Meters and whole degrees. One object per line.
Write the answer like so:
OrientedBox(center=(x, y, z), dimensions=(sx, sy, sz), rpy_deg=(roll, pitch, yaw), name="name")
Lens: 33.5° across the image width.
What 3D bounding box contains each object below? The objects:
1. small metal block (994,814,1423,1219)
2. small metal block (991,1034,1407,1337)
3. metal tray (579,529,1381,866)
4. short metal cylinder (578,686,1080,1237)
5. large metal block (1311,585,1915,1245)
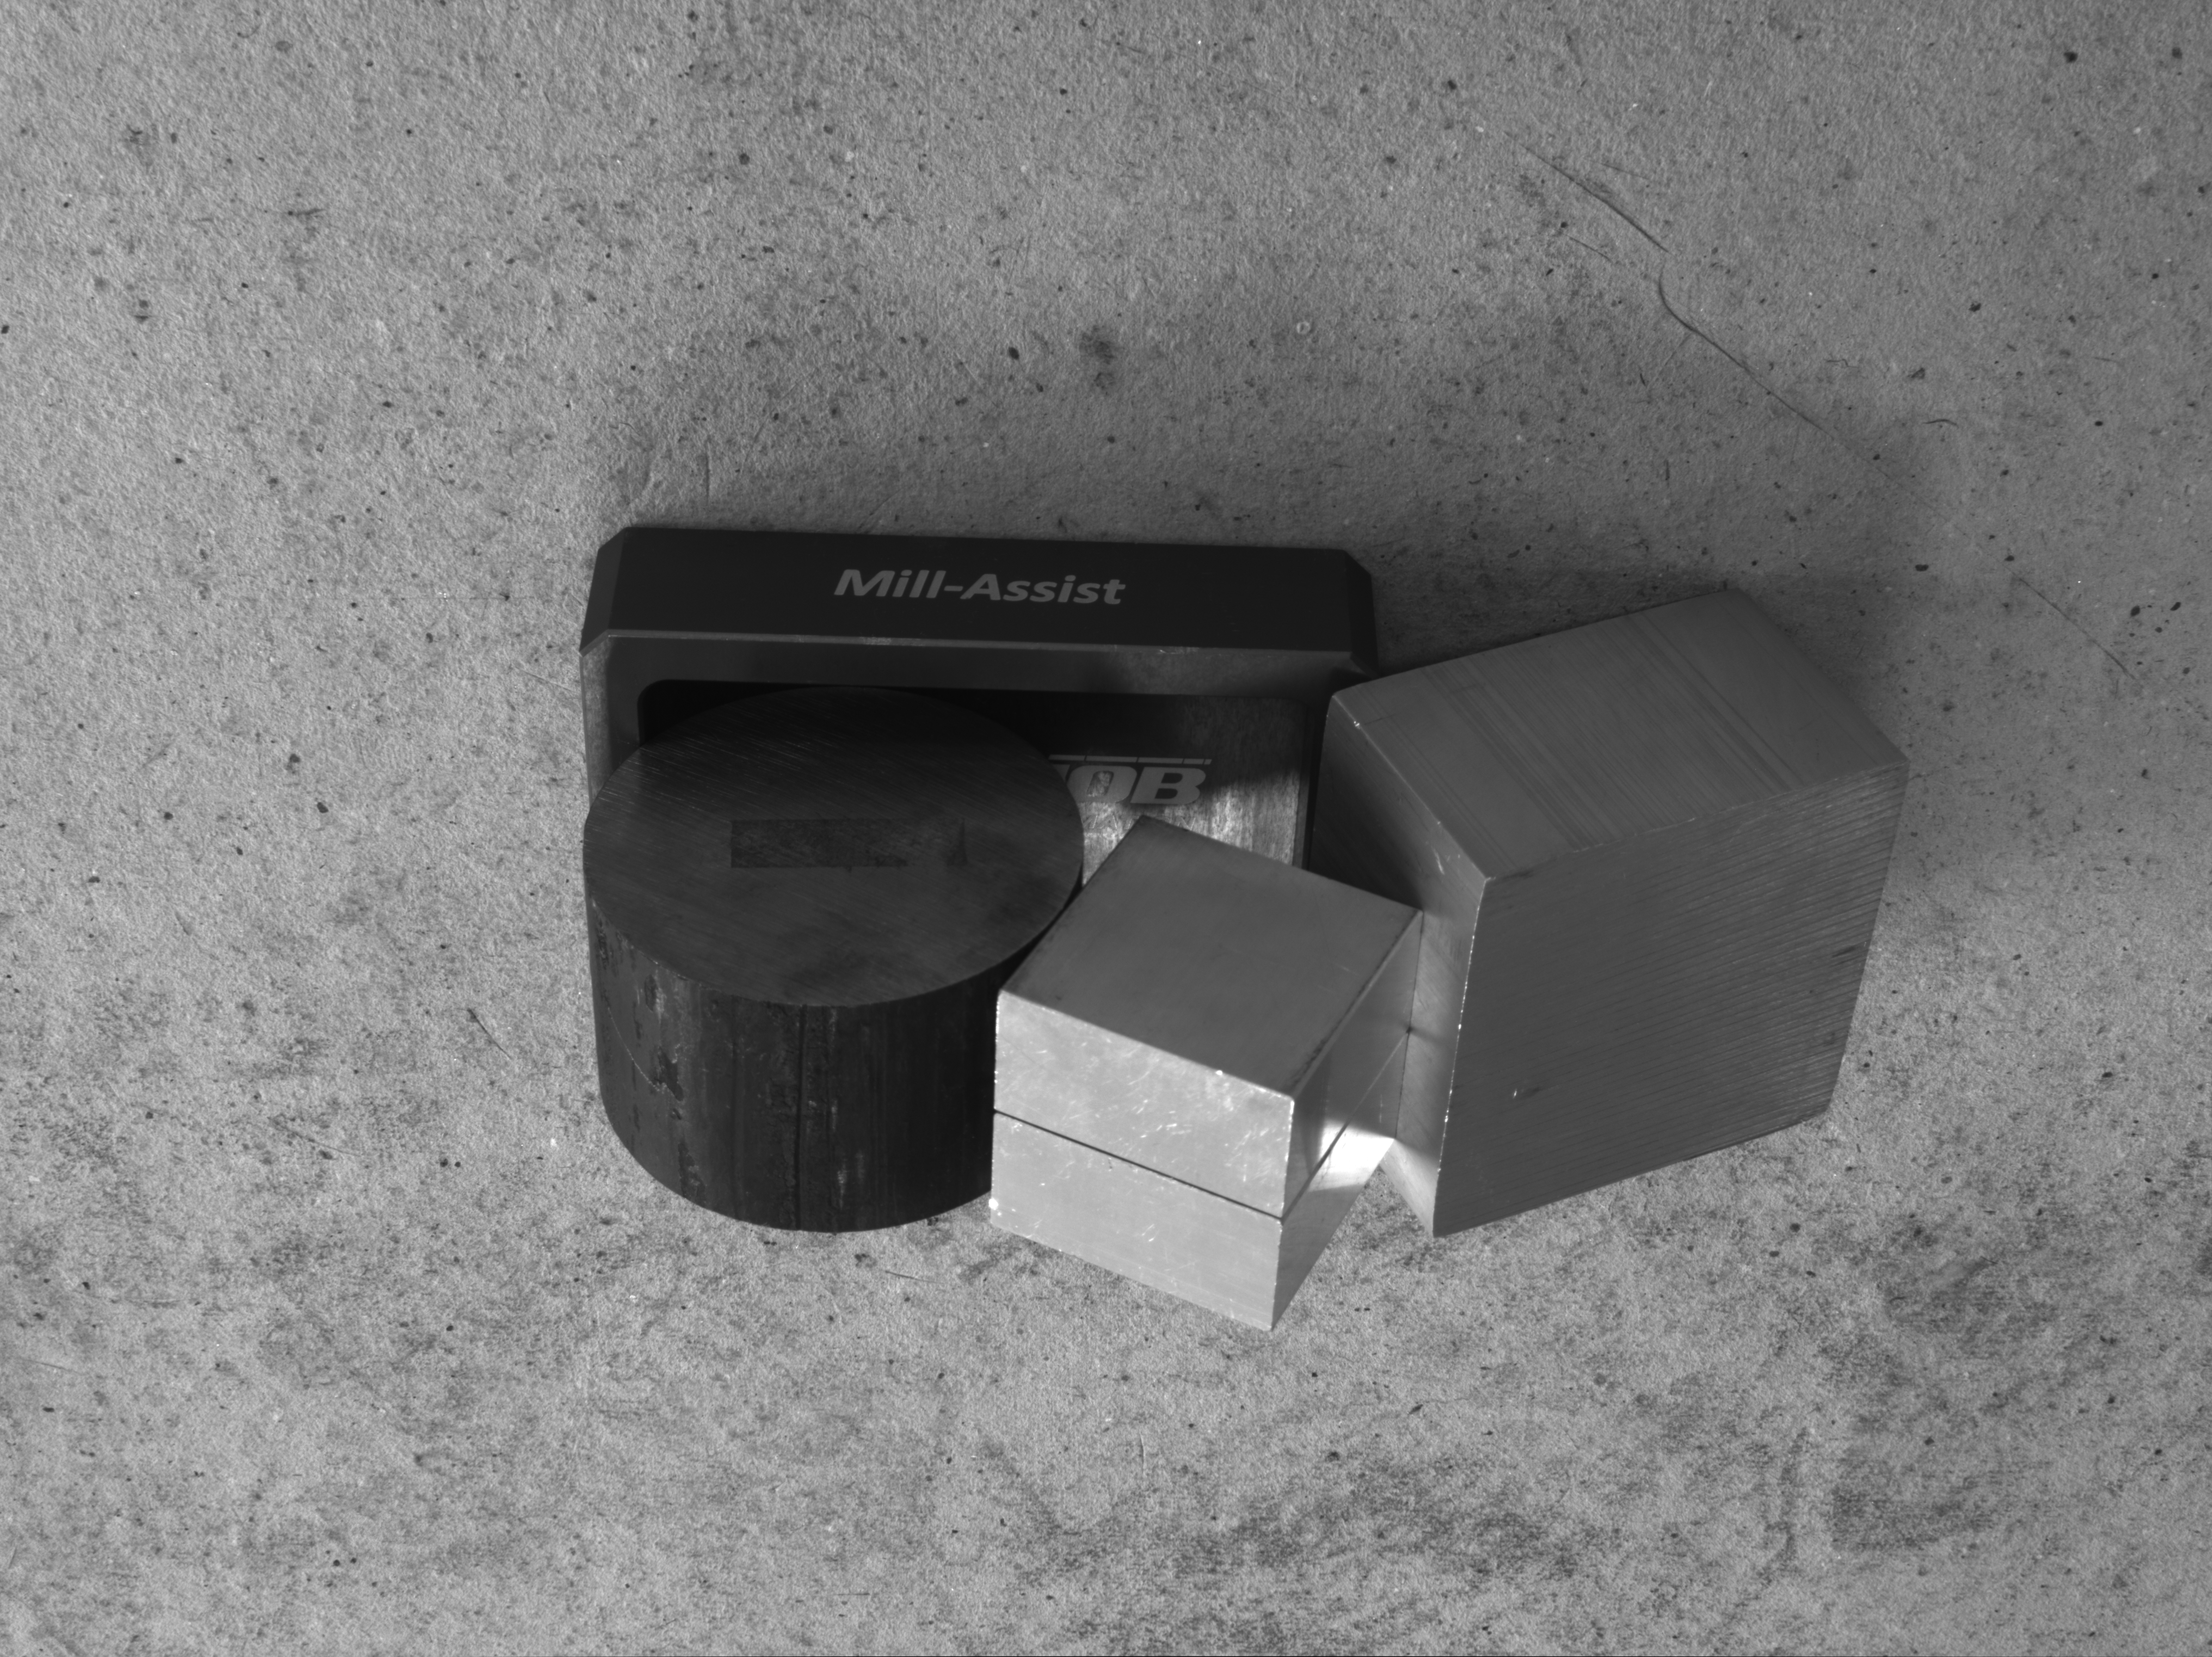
OrientedBox(center=(0.016, 0.029, 0.580), dimensions=(0.050, 0.050, 0.025), rpy_deg=(19, 131, 19), name="small metal block")
OrientedBox(center=(0.015, 0.049, 0.596), dimensions=(0.050, 0.050, 0.025), rpy_deg=(19, 131, 19), name="small metal block")
OrientedBox(center=(-0.022, -0.005, 0.632), dimensions=(0.130, 0.030, 0.090), rpy_deg=(2, 130, -1), name="metal tray")
OrientedBox(center=(-0.045, 0.021, 0.605), dimensions=(0.080, 0.080, 0.050), rpy_deg=(1, 130, -1), name="short metal cylinder")
OrientedBox(center=(0.081, 0.014, 0.617), dimensions=(0.080, 0.050, 0.080), rpy_deg=(-15, 134, -21), name="large metal block")
